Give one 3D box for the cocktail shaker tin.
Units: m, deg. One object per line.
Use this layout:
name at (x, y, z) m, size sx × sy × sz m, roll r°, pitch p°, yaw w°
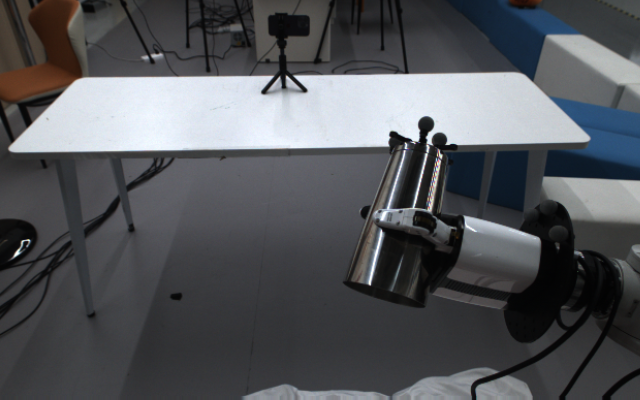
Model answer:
cocktail shaker tin at (0.093, 0.025, 0.544) m, size 0.093 × 0.093 × 0.170 m, roll 14°, pitch 74°, yaw 16°
